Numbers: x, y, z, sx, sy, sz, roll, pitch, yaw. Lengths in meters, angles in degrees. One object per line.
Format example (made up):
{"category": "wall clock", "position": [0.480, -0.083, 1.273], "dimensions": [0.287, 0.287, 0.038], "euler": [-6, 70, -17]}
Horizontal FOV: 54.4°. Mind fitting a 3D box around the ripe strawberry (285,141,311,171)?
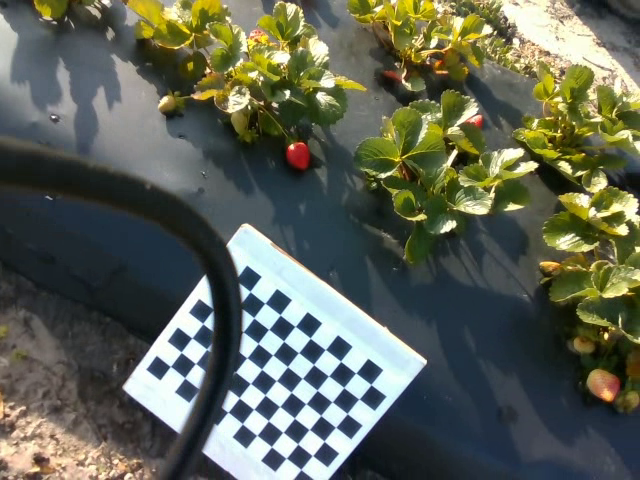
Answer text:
{"category": "ripe strawberry", "position": [-0.025, -0.101, 0.742], "dimensions": [0.030, 0.044, 0.033], "euler": [-24, -30, 13]}
